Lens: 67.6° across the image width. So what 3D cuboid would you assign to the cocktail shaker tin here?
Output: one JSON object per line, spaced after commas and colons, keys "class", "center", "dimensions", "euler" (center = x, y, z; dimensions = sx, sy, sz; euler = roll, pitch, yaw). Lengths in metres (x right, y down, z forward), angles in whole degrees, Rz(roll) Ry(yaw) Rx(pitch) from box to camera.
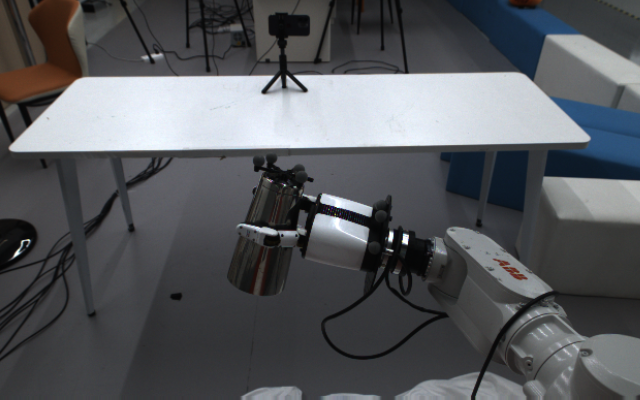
{"class": "cocktail shaker tin", "center": [-0.077, 0.047, 0.728], "dimensions": [0.093, 0.170, 0.093], "euler": [15, 17, -5]}
